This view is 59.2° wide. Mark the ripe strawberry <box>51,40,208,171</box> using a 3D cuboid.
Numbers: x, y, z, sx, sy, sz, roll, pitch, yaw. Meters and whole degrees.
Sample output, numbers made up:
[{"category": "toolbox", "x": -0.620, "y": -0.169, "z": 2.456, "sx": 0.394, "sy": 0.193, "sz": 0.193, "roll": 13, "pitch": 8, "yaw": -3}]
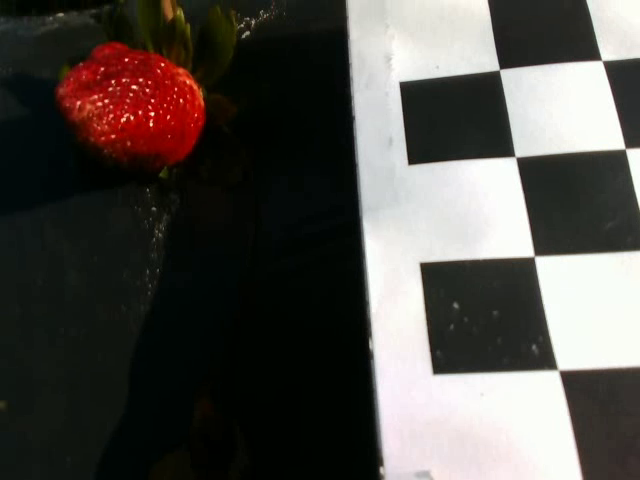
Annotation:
[{"category": "ripe strawberry", "x": -0.019, "y": -0.014, "z": 0.055, "sx": 0.015, "sy": 0.015, "sz": 0.023, "roll": 4, "pitch": 17, "yaw": 5}]
